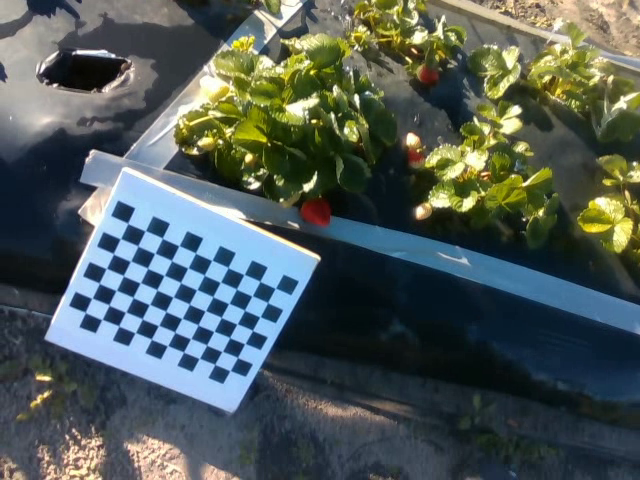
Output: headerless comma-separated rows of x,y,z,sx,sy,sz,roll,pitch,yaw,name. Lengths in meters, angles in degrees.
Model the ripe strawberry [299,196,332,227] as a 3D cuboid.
-0.007,-0.039,0.714,0.048,0.045,0.064,44,13,-40,ripe strawberry
